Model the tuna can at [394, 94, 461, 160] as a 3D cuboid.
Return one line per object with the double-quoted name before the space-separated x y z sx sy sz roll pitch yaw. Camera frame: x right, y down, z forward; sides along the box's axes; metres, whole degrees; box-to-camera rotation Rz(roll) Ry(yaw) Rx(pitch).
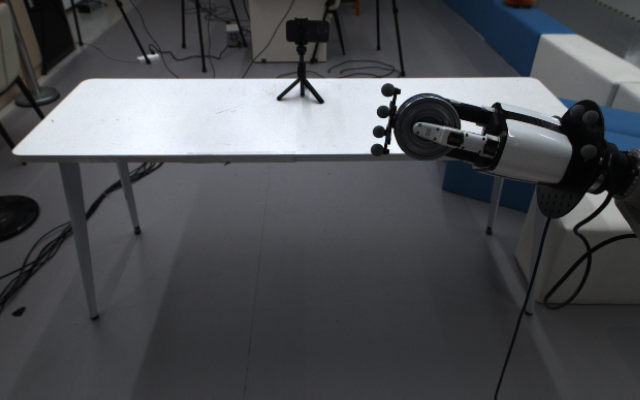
"tuna can" 0.143 -0.093 0.636 0.085 0.085 0.034 4 17 3
